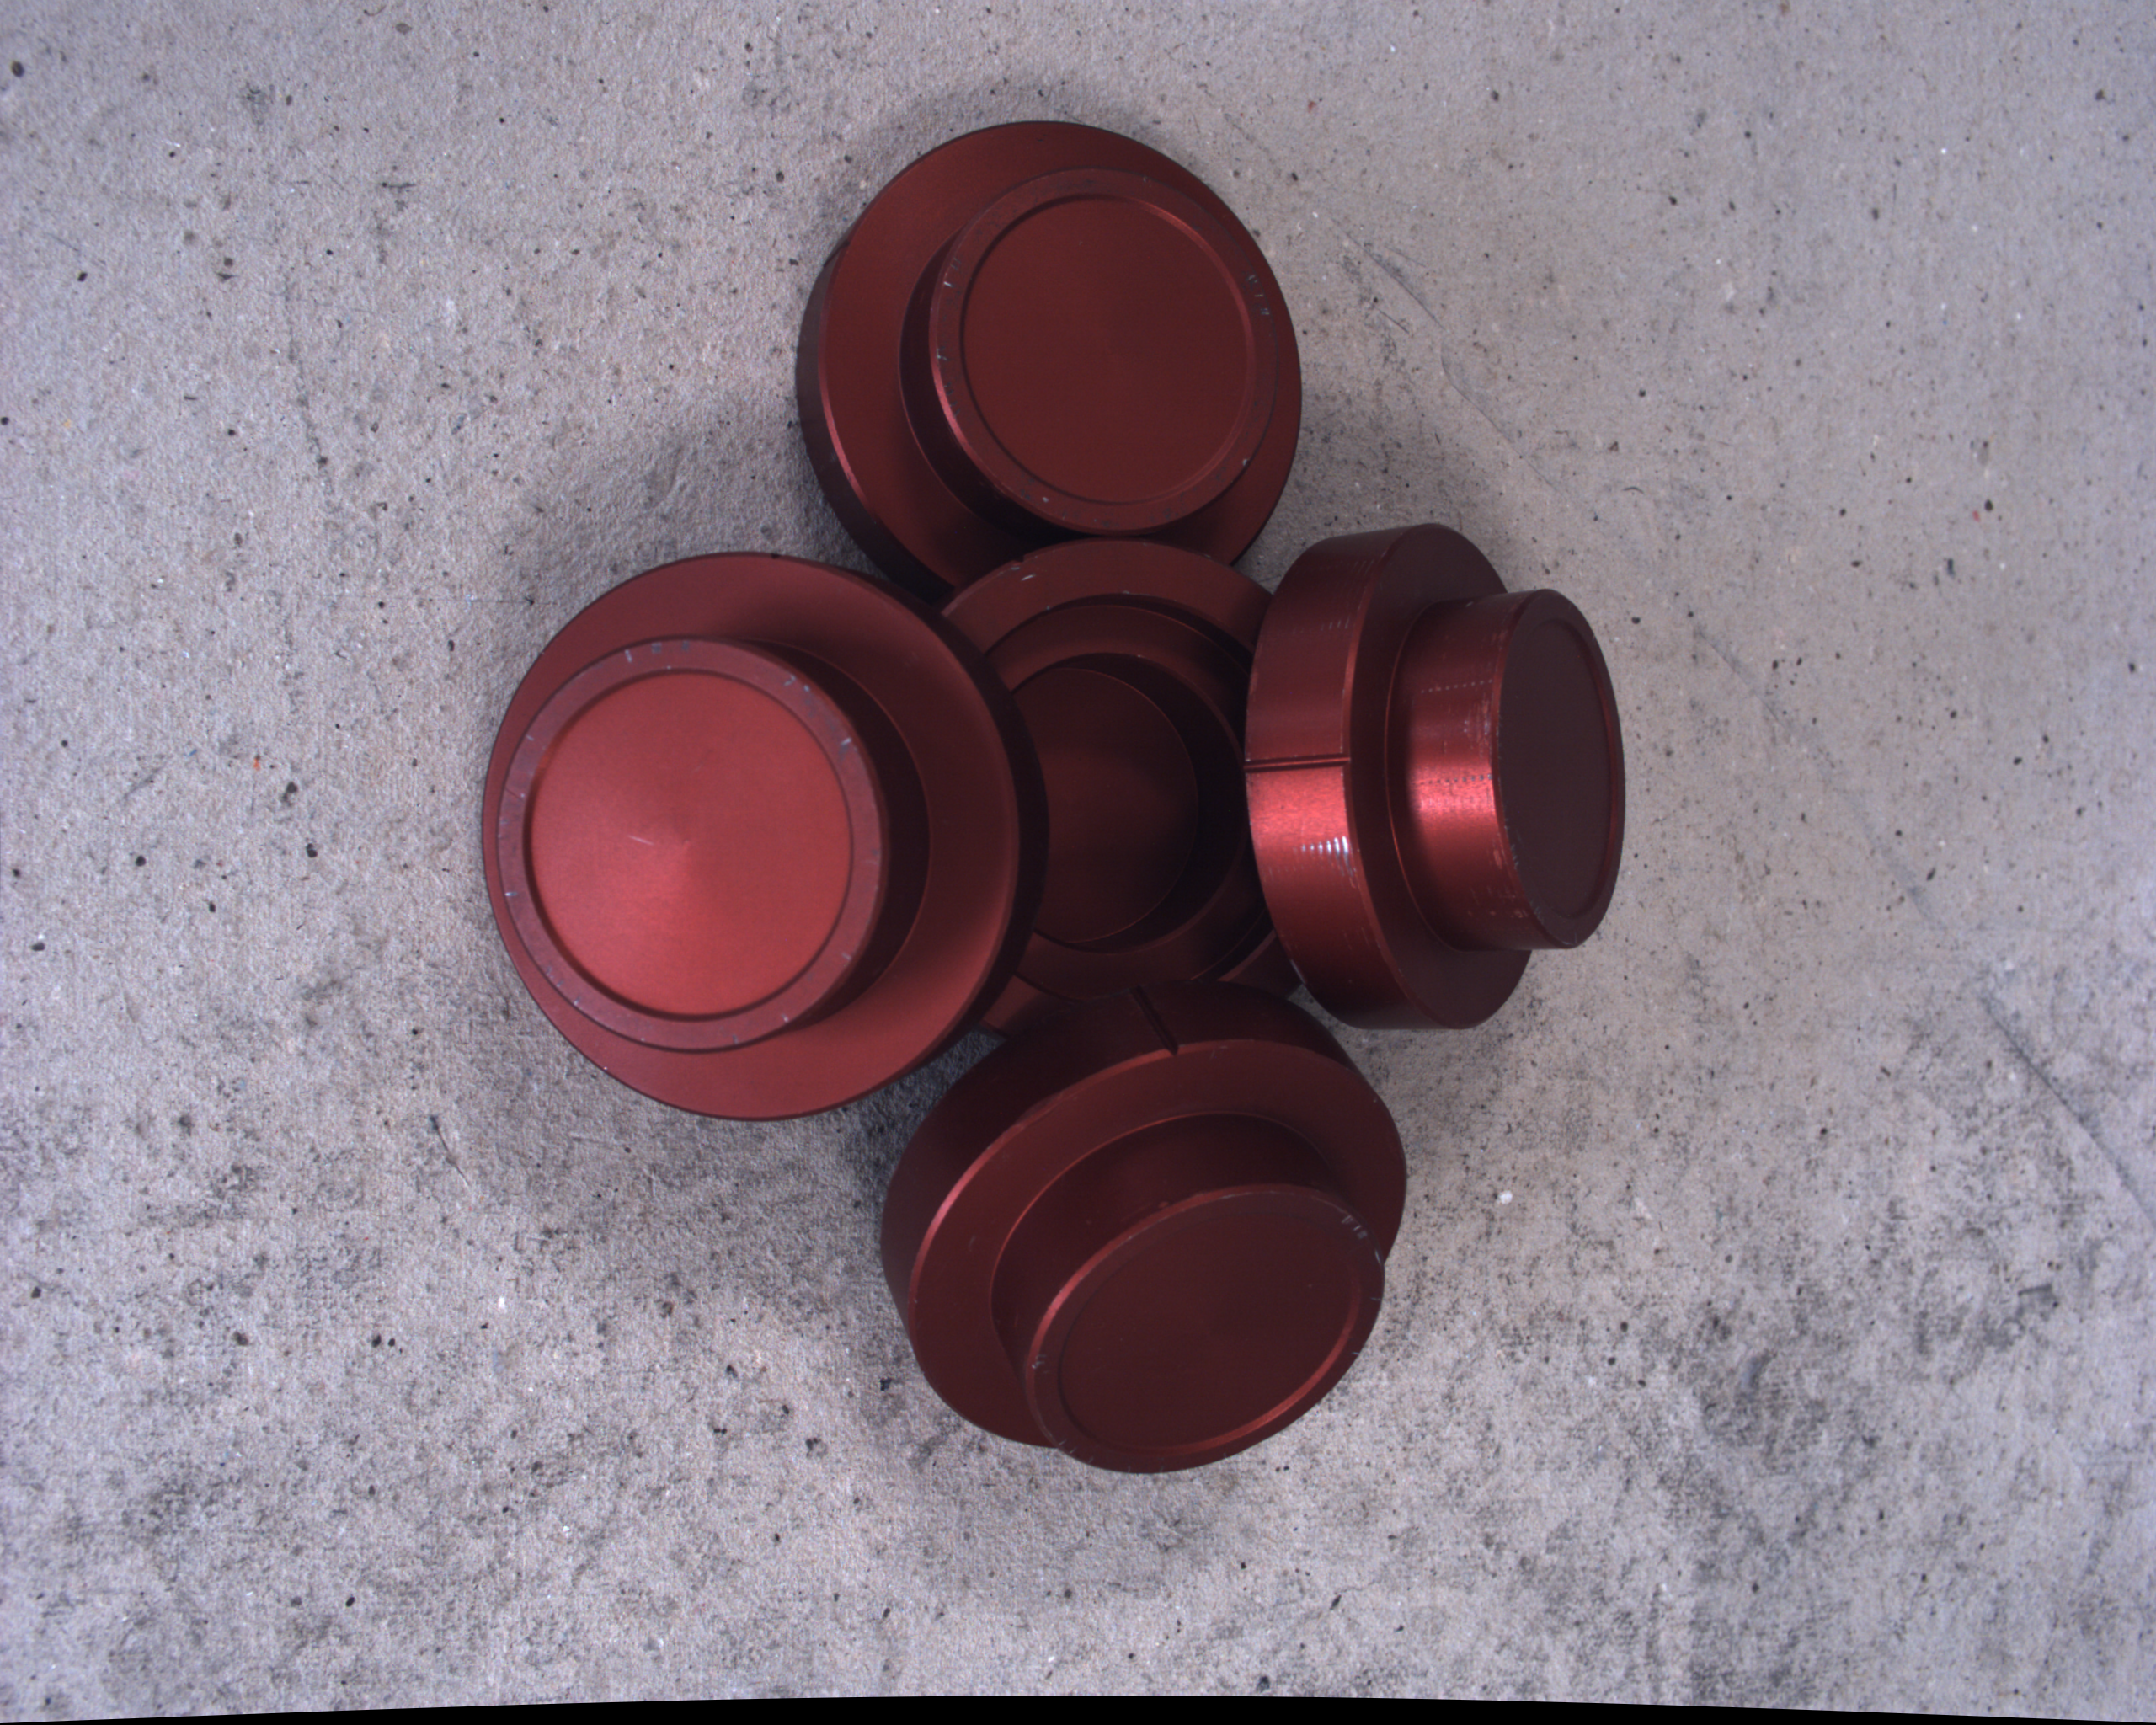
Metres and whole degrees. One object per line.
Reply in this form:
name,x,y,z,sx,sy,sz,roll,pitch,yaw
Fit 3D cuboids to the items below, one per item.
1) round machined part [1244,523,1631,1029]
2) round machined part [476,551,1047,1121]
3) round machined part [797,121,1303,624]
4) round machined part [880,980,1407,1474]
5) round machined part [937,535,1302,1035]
round machined part,0.074,-0.017,0.401,0.099,0.042,0.097,8,80,-55
round machined part,-0.058,-0.004,0.354,0.098,0.042,0.097,1,94,13
round machined part,-0.001,-0.094,0.400,0.099,0.042,0.097,1,88,-20
round machined part,0.017,0.073,0.384,0.099,0.042,0.097,-11,124,-16
round machined part,0.003,-0.011,0.402,0.099,0.042,0.097,0,89,-18
